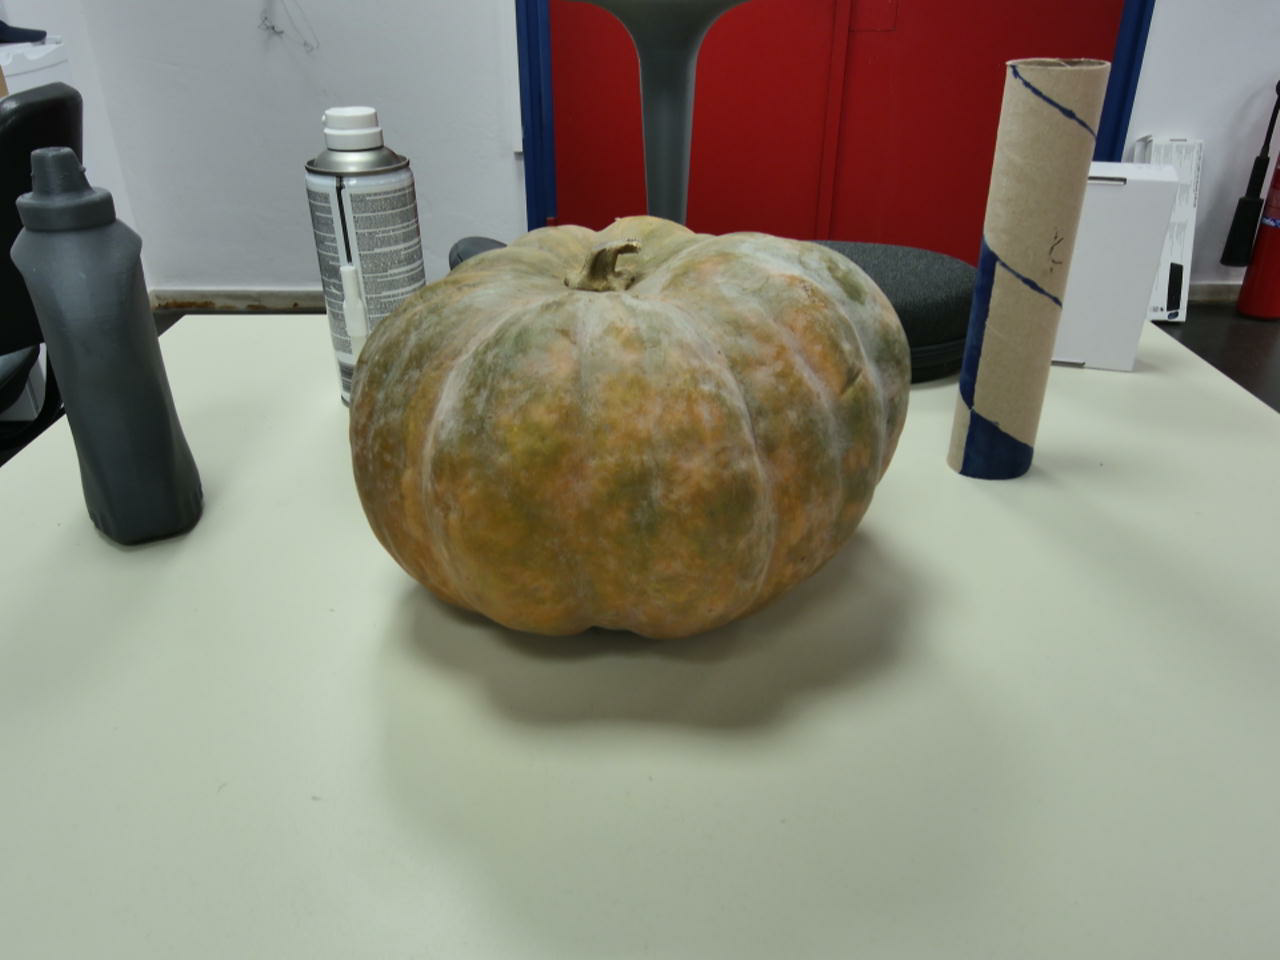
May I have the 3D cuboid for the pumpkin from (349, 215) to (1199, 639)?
[{"bbox_3d":[-0.011,-0.030,0.464,0.252,0.169,0.251,0,26,0],"label":"pumpkin"}]
